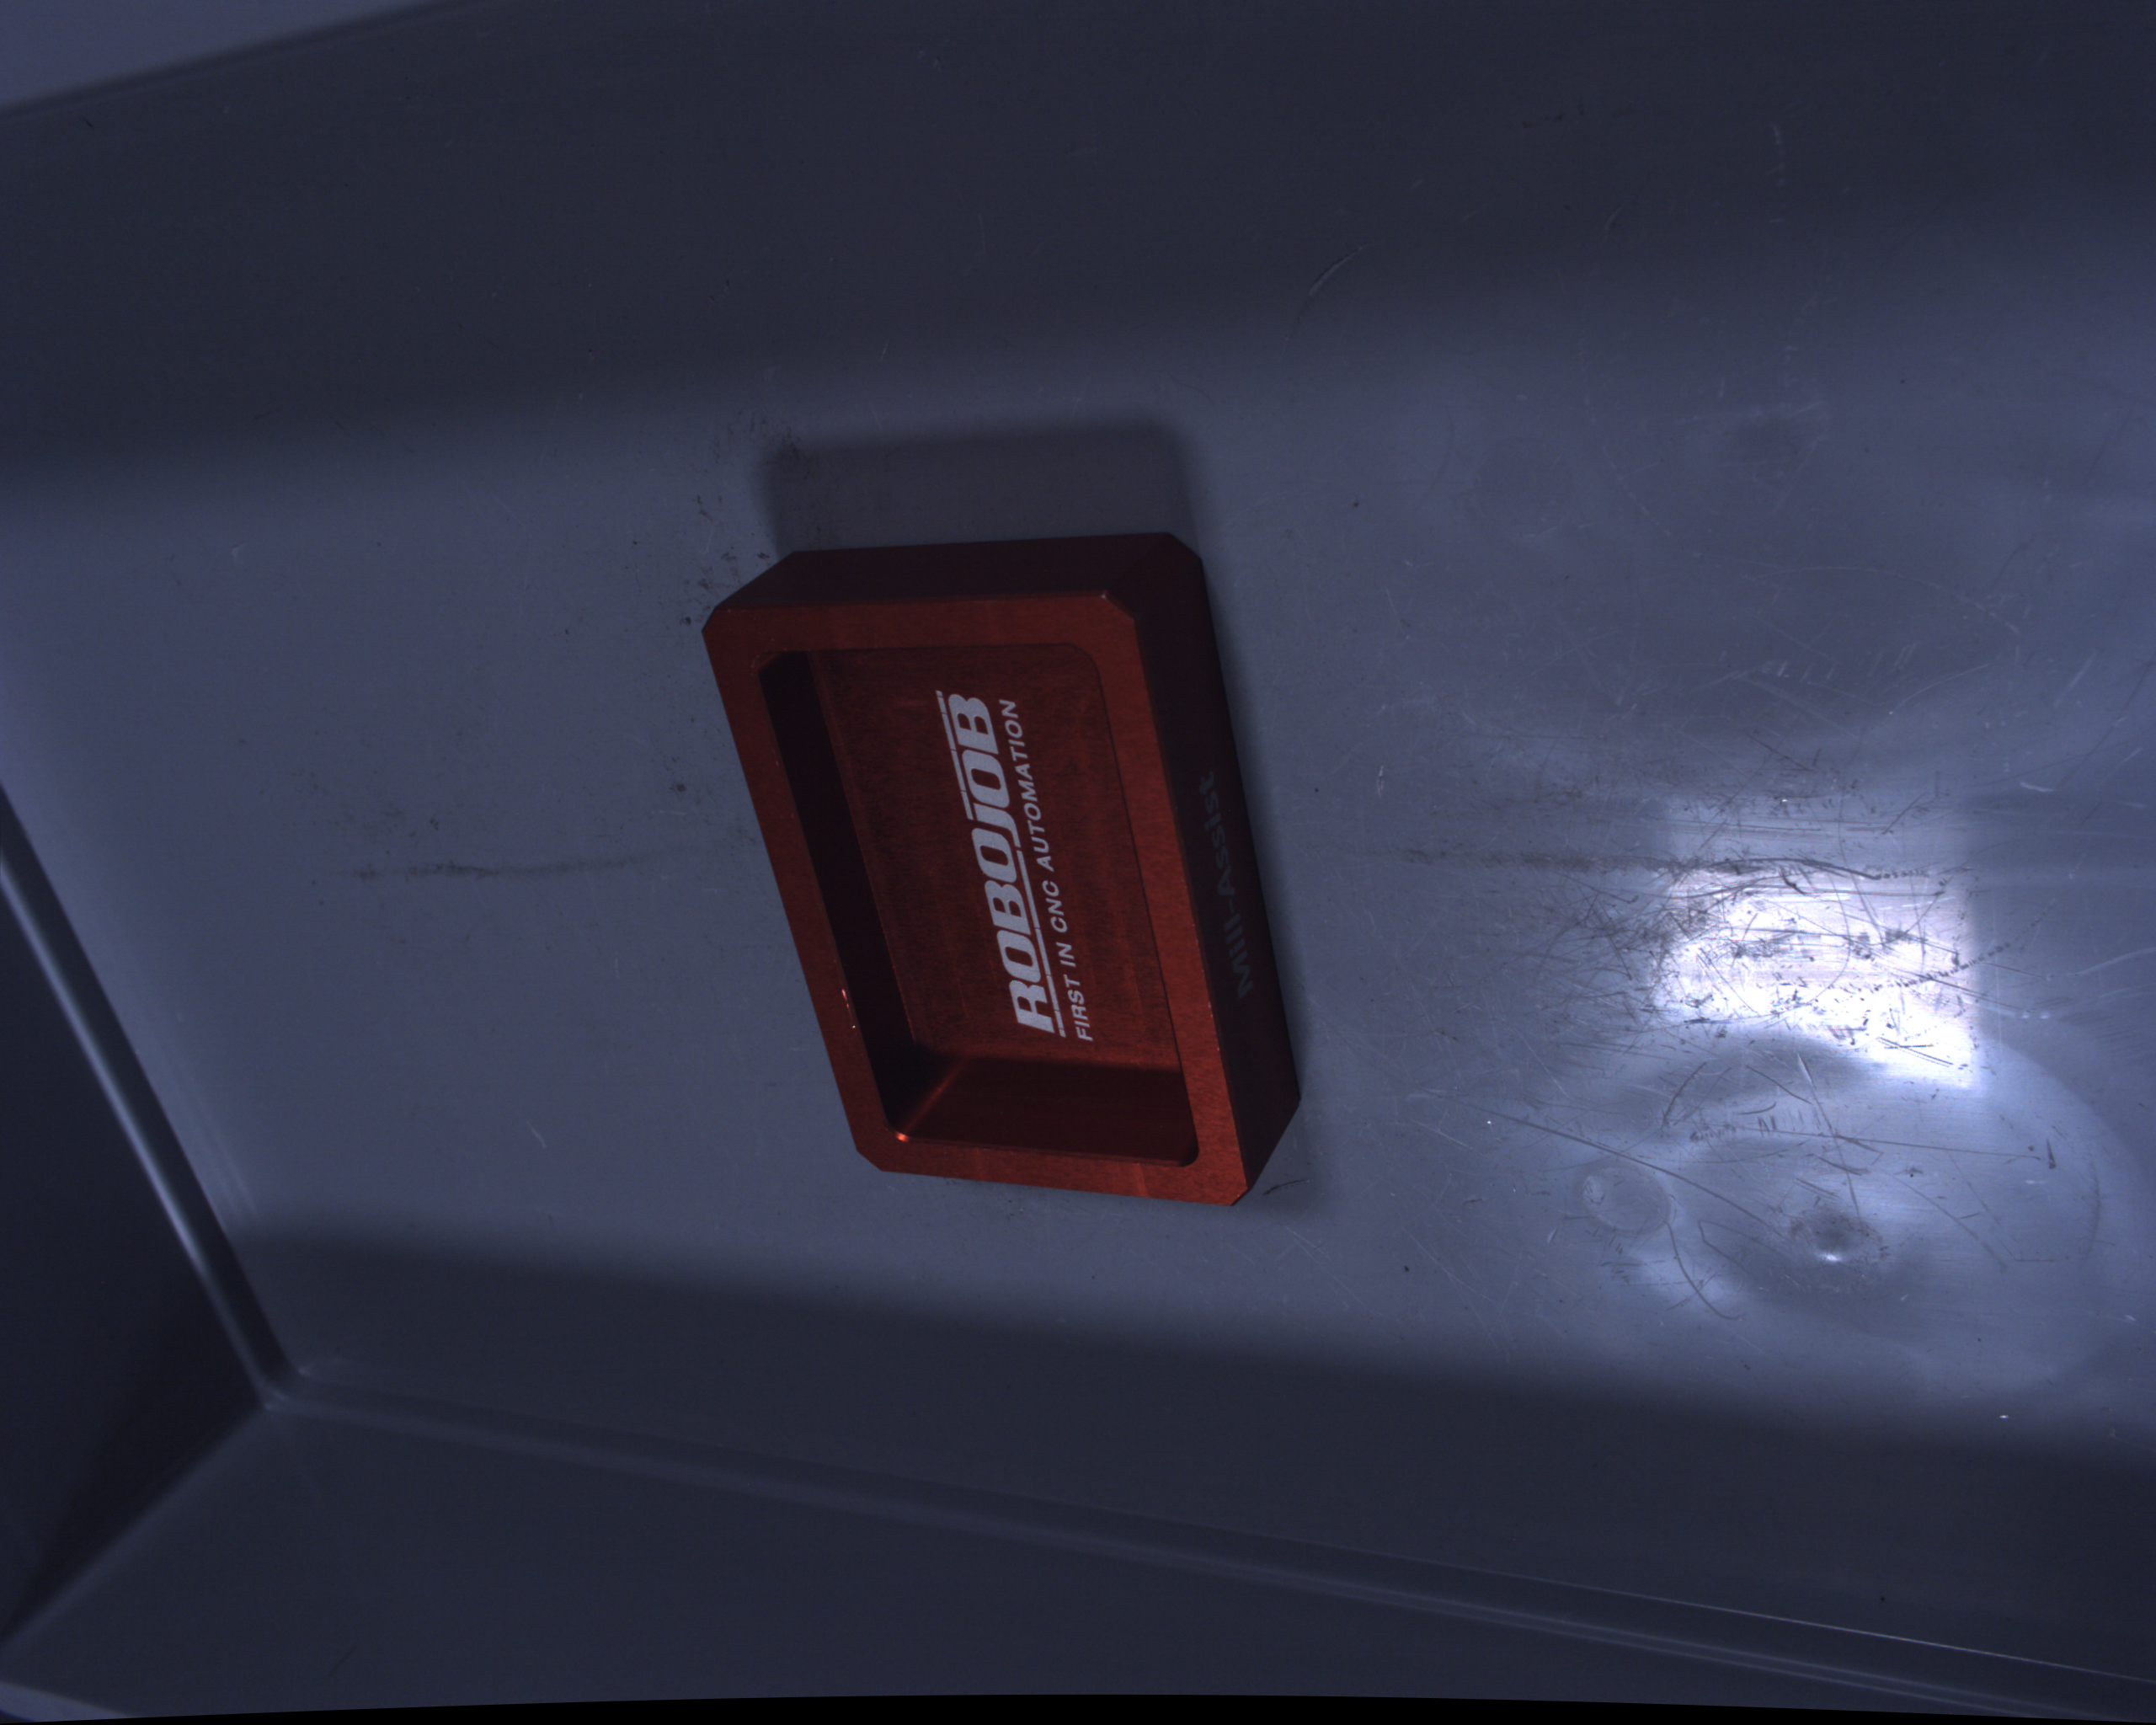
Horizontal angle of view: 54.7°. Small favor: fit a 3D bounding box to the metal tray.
[{"bbox_3d":[-0.013,0.003,0.409,0.090,0.030,0.129,1,119,26],"label":"metal tray"}]
